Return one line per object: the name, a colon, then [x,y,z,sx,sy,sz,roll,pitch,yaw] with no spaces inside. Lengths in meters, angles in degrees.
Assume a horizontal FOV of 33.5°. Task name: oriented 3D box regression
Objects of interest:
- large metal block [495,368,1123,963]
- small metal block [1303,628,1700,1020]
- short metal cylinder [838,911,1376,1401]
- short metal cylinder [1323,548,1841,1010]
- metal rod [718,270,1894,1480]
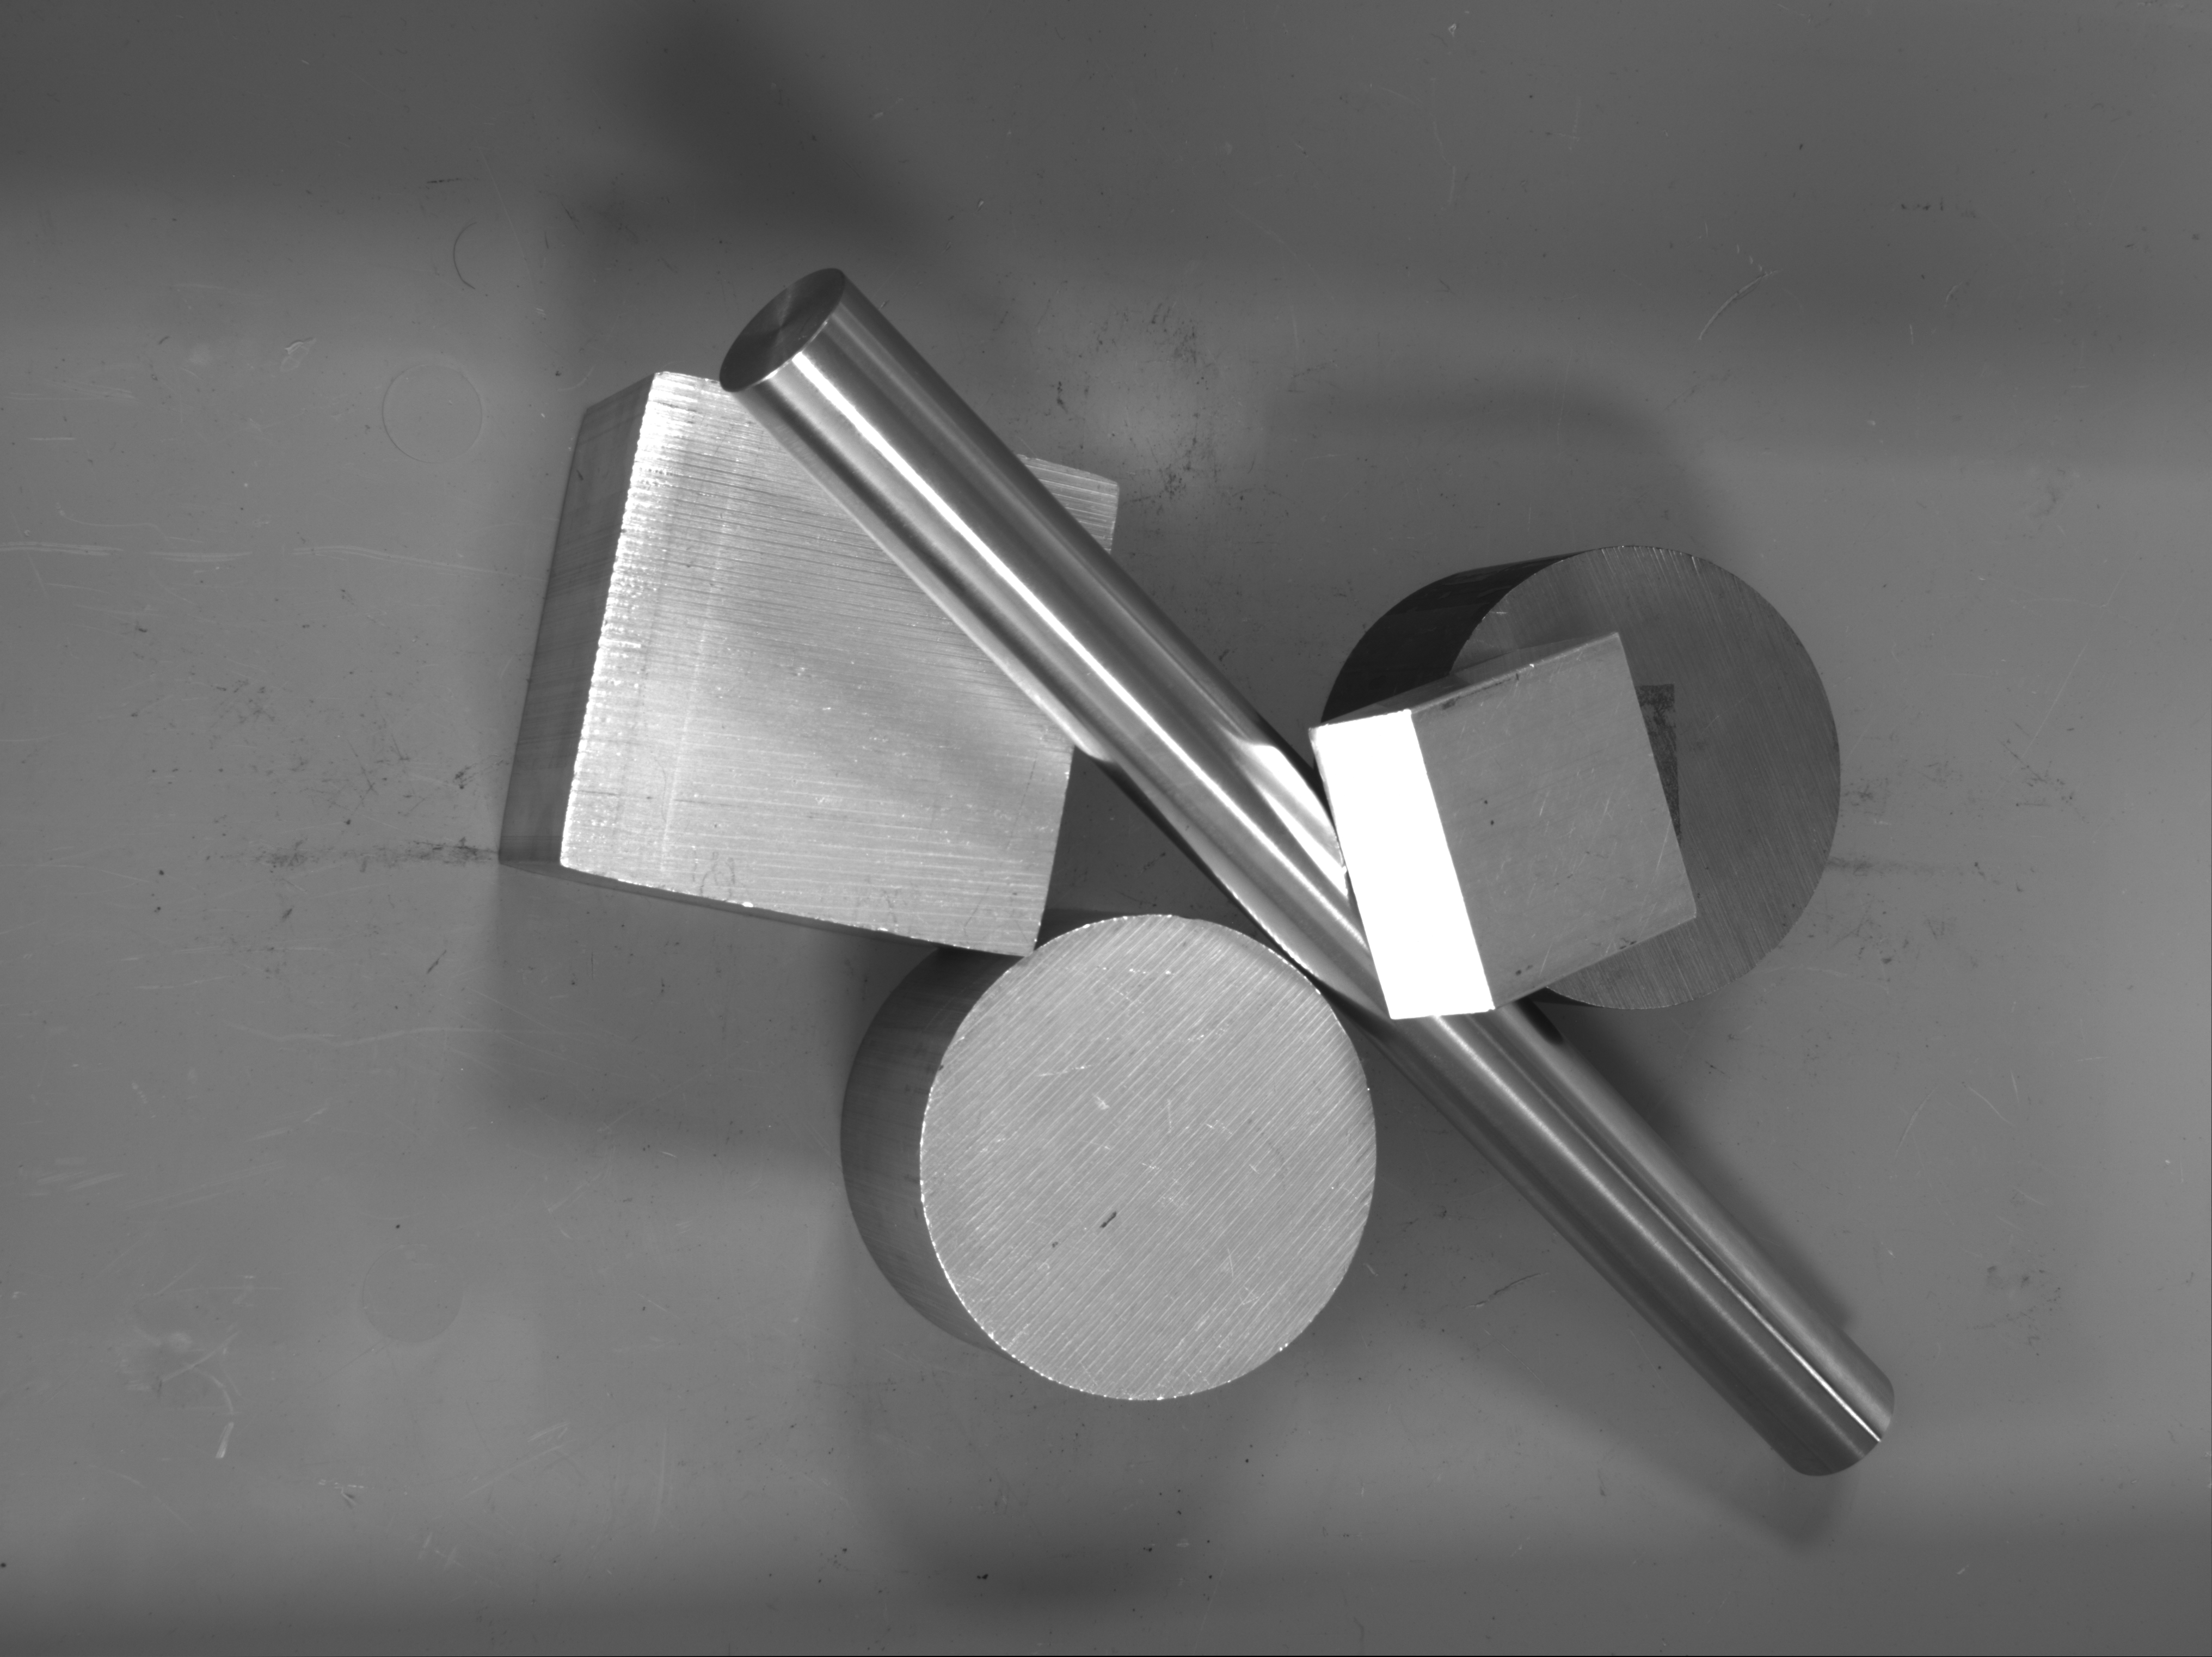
large metal block: [-0.050,-0.025,0.609,0.080,0.050,0.080,12,86,-19]
small metal block: [0.066,-0.001,0.605,0.050,0.025,0.050,-21,97,-36]
short metal cylinder: [-0.001,0.054,0.629,0.080,0.050,0.080,0,90,-20]
short metal cylinder: [0.084,-0.009,0.659,0.080,0.050,0.080,0,90,-20]
metal rod: [0.045,0.019,0.621,0.301,0.025,0.025,45,76,-29]
